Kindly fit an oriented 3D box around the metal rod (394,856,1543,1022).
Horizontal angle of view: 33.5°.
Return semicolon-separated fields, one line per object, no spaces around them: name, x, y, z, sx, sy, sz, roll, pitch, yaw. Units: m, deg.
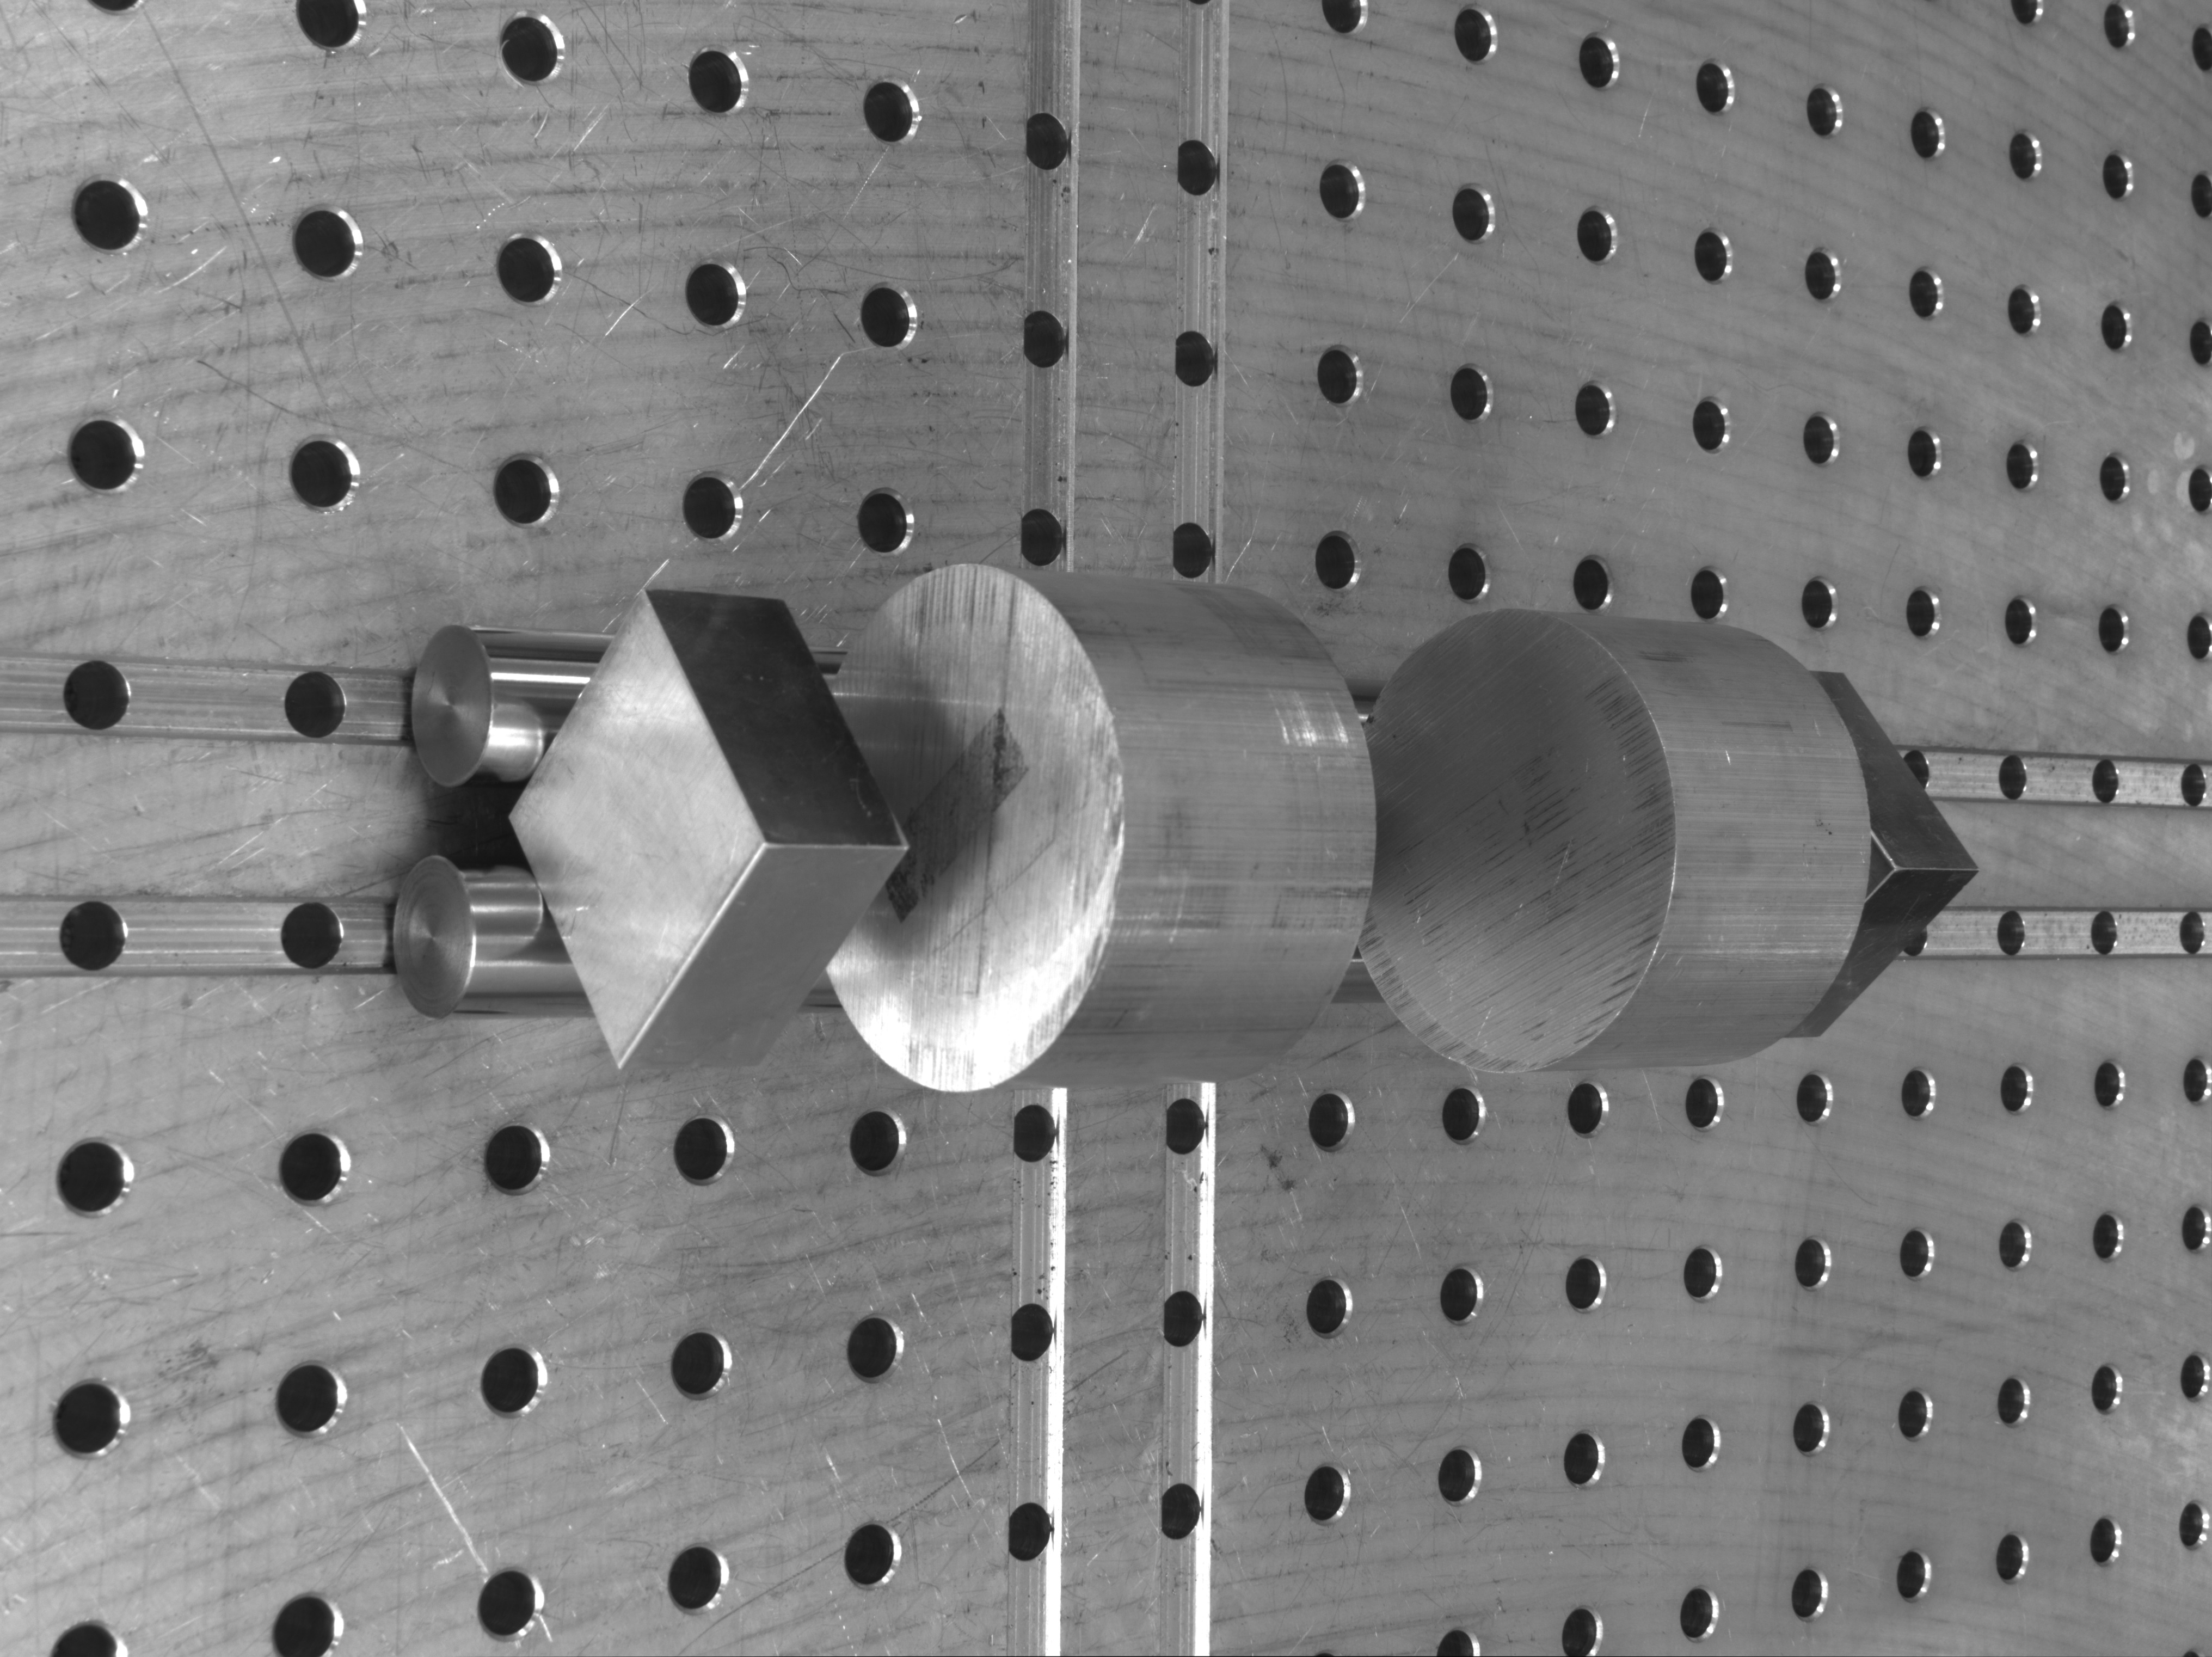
metal rod;0.014;0.019;0.651;0.301;0.025;0.025;1;89;-40

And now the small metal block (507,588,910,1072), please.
small metal block;-0.060;0.000;0.545;0.025;0.050;0.050;1;47;-39

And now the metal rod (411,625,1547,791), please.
metal rod;0.017;-0.016;0.653;0.301;0.025;0.025;1;89;-40

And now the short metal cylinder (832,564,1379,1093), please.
short metal cylinder;-0.003;0.000;0.573;0.050;0.080;0.080;1;89;-40

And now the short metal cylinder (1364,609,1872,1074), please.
short metal cylinder;0.087;0.003;0.648;0.050;0.080;0.080;1;89;-40

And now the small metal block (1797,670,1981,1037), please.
small metal block;0.131;0.005;0.702;0.025;0.050;0.050;1;48;-39
